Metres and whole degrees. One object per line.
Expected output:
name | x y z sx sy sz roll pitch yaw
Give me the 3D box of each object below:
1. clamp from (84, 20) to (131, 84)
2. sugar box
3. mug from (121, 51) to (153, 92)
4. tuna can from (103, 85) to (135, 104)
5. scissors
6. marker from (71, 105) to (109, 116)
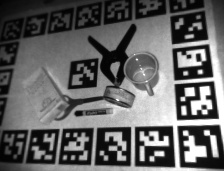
clamp | 0.000 -0.099 0.686 0.164 0.037 0.202 -15 69 12
sugar box | -0.219 0.025 0.692 0.093 0.046 0.174 -40 59 2
mug | 0.076 -0.031 0.606 0.093 0.082 0.116 -32 62 6
tuna can | 0.018 0.024 0.601 0.085 0.086 0.034 11 76 22
scissors | -0.113 0.041 0.670 0.202 0.016 0.087 -16 64 10
marker | -0.069 0.076 0.647 0.120 0.020 0.019 -10 71 15
